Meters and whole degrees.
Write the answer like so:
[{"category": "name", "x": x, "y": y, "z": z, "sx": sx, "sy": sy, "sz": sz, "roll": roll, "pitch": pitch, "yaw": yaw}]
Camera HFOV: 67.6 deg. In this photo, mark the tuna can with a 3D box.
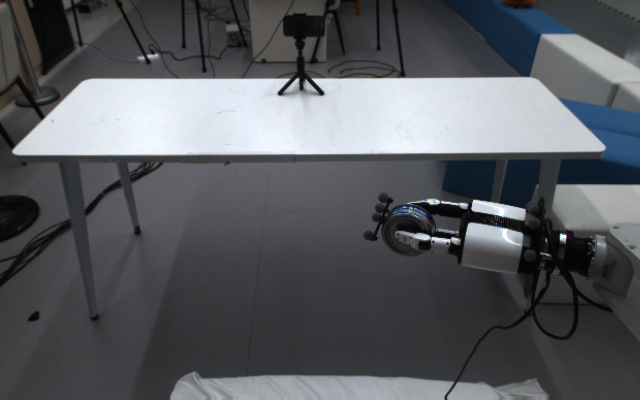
[{"category": "tuna can", "x": 0.149, "y": 0.050, "z": 0.805, "sx": 0.085, "sy": 0.085, "sz": 0.034, "roll": 12, "pitch": 30, "yaw": 14}]
